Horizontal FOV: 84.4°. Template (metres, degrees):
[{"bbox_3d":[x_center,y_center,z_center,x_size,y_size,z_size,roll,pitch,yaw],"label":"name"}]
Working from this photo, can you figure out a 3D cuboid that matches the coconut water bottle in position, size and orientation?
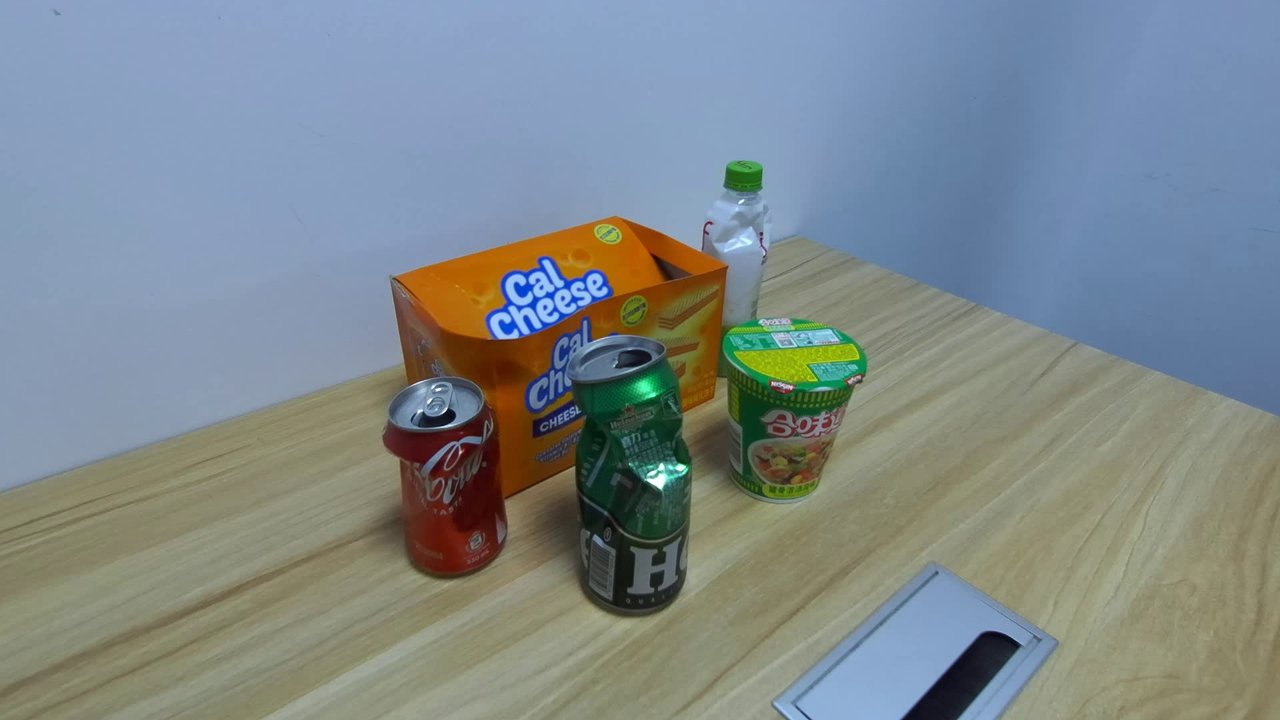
[{"bbox_3d":[0.081,-0.078,0.621,0.069,0.186,0.069,2,29,-1],"label":"coconut water bottle"}]

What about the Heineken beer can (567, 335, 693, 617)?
[{"bbox_3d":[-0.003,0.069,0.410,0.078,0.159,0.067,8,28,23],"label":"Heineken beer can"}]

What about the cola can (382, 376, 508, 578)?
[{"bbox_3d":[-0.119,0.071,0.439,0.066,0.117,0.066,26,38,35],"label":"cola can"}]

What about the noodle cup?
[{"bbox_3d":[0.102,0.039,0.505,0.097,0.110,0.097,2,32,-1],"label":"noodle cup"}]

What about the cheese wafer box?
[{"bbox_3d":[-0.060,-0.013,0.574,0.231,0.132,0.151,-22,39,-35],"label":"cheese wafer box"}]
